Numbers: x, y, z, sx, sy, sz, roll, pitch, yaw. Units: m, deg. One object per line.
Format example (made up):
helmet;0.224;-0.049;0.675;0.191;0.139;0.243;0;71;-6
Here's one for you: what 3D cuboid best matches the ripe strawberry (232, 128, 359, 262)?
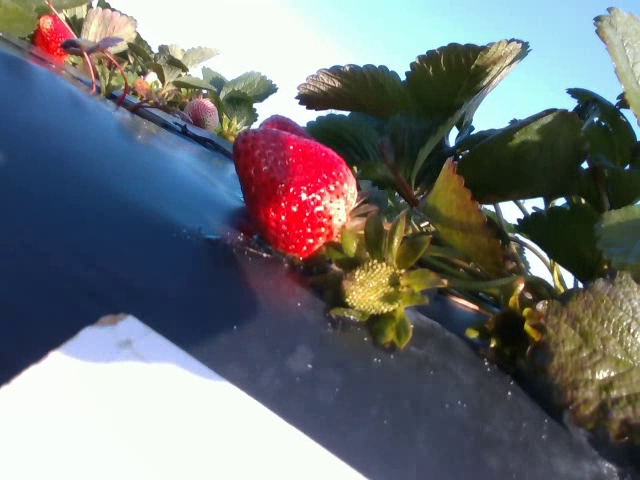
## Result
ripe strawberry;-0.009;-0.020;0.198;0.038;0.043;0.053;-35;-47;14
